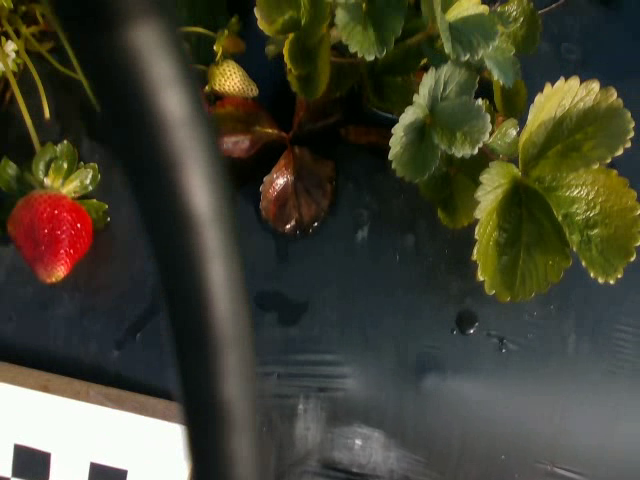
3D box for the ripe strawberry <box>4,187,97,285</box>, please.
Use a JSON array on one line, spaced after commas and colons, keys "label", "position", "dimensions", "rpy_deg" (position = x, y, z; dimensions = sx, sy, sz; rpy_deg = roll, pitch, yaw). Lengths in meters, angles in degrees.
[{"label": "ripe strawberry", "position": [-0.166, -0.002, 0.431], "dimensions": [0.050, 0.065, 0.050], "rpy_deg": [-25, -42, 14]}]
